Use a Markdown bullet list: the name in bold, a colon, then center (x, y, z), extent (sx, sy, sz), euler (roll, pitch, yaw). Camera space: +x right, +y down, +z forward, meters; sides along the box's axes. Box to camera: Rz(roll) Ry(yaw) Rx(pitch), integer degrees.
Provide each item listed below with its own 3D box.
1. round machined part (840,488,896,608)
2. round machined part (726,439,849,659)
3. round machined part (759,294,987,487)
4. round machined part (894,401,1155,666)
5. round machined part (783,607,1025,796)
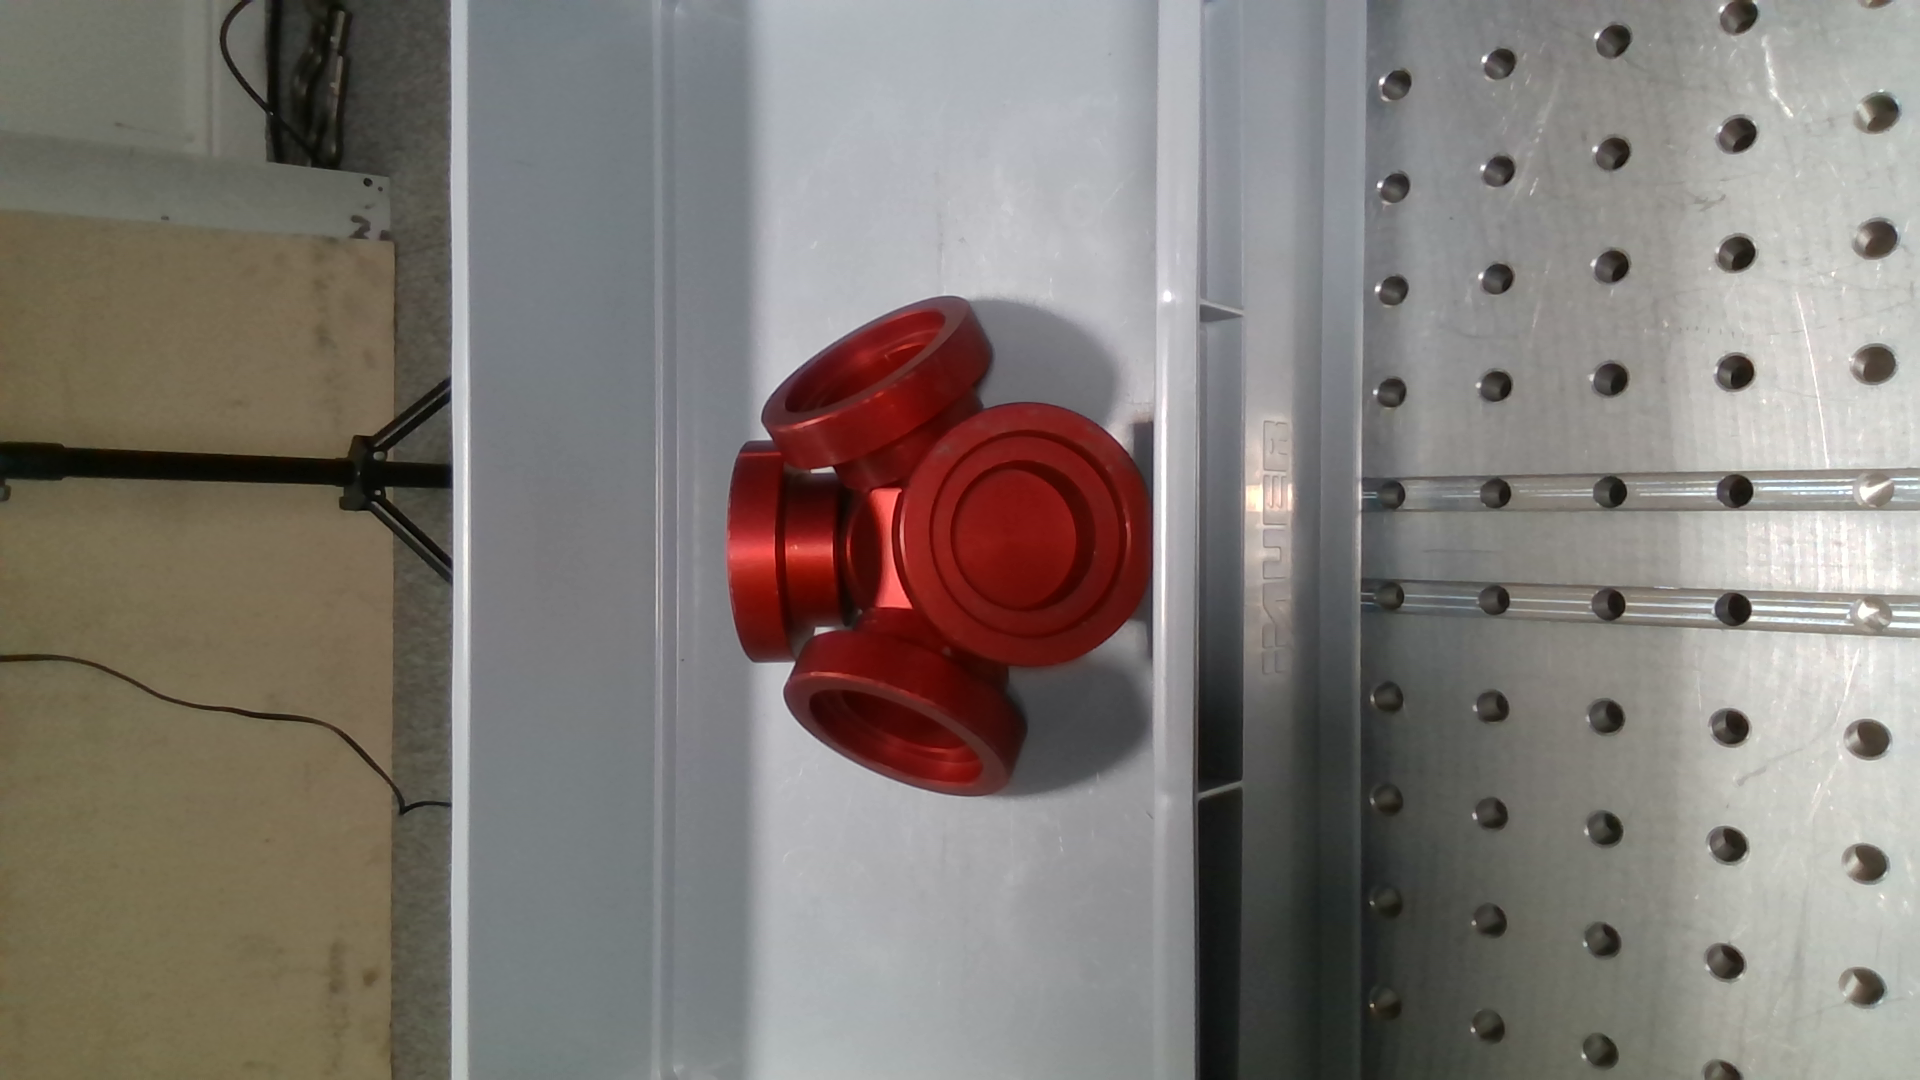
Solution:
- **round machined part**: center (-0.013, 0.002, 0.580), extent (0.098, 0.042, 0.098), euler (0, 91, 40)
- **round machined part**: center (-0.071, 0.004, 0.604), extent (0.042, 0.098, 0.098), euler (-1, 89, 4)
- **round machined part**: center (-0.031, -0.058, 0.571), extent (0.098, 0.098, 0.042), euler (-8, 122, 40)
- **round machined part**: center (0.021, -0.002, 0.527), extent (0.042, 0.098, 0.098), euler (167, 100, -78)
- **round machined part**: center (-0.019, 0.063, 0.563), extent (0.098, 0.098, 0.042), euler (-4, 52, 40)
